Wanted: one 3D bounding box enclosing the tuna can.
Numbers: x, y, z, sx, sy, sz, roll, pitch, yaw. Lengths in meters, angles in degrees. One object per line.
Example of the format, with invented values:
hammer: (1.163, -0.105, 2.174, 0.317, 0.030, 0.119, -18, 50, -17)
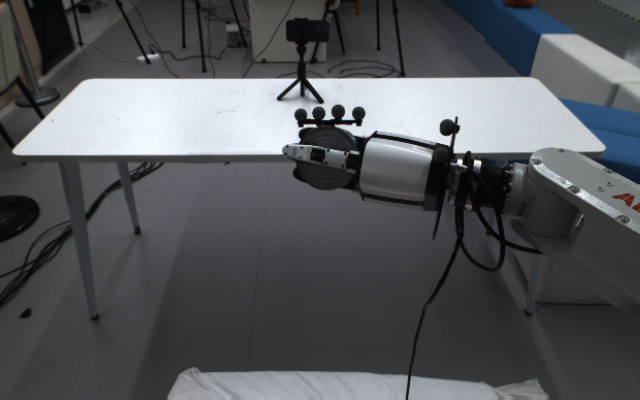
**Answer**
tuna can: (0.014, -0.057, 0.653, 0.085, 0.085, 0.034, 12, 8, 14)
